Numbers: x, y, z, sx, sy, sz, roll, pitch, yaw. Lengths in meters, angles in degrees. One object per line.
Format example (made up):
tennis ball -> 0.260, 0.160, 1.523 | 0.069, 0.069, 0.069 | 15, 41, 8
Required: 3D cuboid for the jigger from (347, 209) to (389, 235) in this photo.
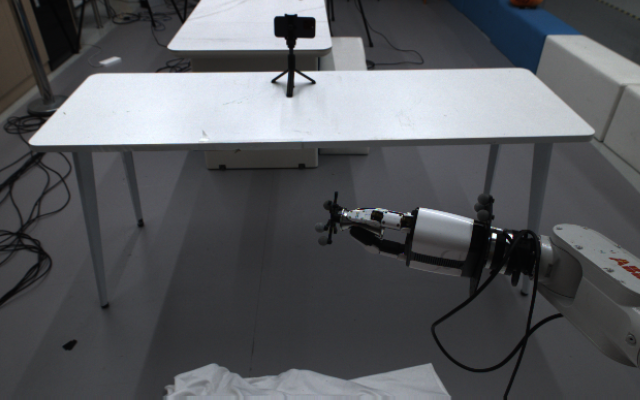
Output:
jigger -> 0.076, 0.031, 0.782 | 0.071, 0.043, 0.043 | 8, 35, 16
